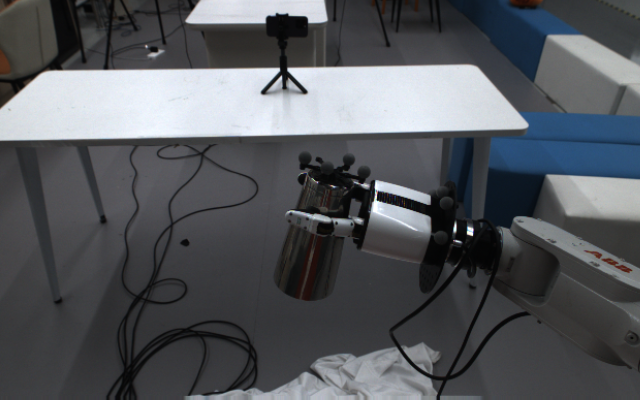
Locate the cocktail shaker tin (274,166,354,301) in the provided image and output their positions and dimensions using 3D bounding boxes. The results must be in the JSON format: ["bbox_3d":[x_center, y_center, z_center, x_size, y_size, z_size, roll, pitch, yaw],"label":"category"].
[{"bbox_3d":[-0.001,0.042,0.681,0.093,0.170,0.093,12,25,-6],"label":"cocktail shaker tin"}]
